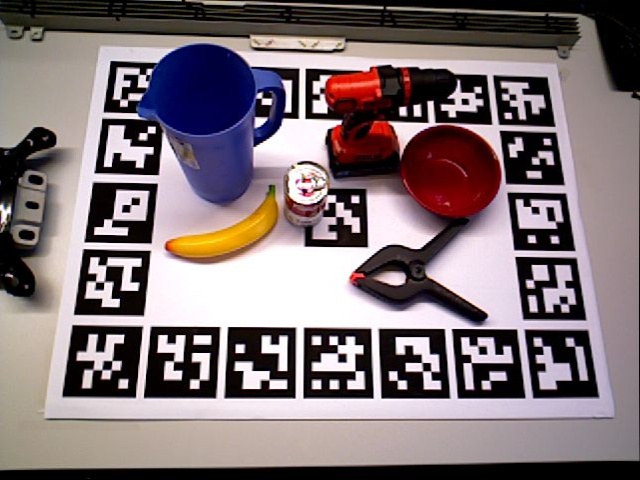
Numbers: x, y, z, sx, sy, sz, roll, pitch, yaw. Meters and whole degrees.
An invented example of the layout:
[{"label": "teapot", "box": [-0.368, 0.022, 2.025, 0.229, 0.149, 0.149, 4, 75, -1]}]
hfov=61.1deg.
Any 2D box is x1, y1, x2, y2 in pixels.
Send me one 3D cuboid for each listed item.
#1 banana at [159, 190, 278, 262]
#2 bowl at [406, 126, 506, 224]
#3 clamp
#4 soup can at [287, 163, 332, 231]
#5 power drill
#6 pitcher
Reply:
[{"label": "banana", "box": [-0.141, -0.009, 0.812, 0.195, 0.039, 0.074, -24, 67, -11]}, {"label": "bowl", "box": [0.208, -0.092, 0.842, 0.161, 0.056, 0.160, 0, 74, -2]}, {"label": "clamp", "box": [0.150, 0.058, 0.796, 0.201, 0.037, 0.165, -2, 77, -3]}, {"label": "soup can", "box": [-0.016, -0.066, 0.800, 0.067, 0.104, 0.067, 1, 63, -3]}, {"label": "power drill", "box": [0.105, -0.177, 0.774, 0.183, 0.189, 0.057, -4, 72, -5]}, {"label": "pitcher", "box": [-0.131, -0.150, 0.745, 0.187, 0.246, 0.133, -22, 71, -11]}]
